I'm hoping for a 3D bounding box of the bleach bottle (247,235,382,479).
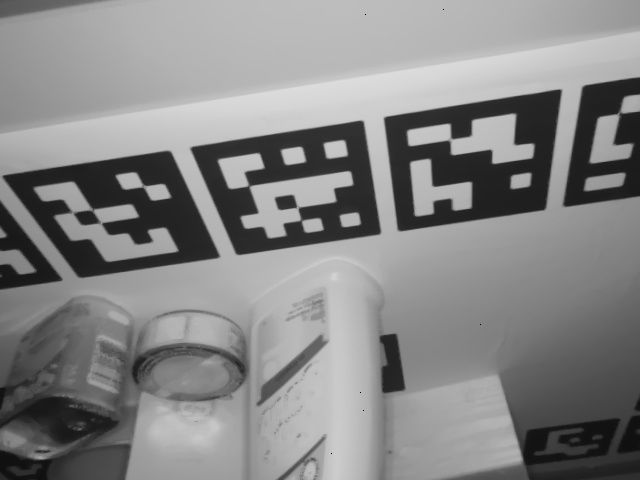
[{"bbox_3d":[0.001,0.118,0.444,0.101,0.252,0.068,-28,131,22],"label":"bleach bottle"}]

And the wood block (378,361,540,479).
[{"bbox_3d":[0.091,0.195,0.648,0.205,0.090,0.091,-15,130,12],"label":"wood block"}]

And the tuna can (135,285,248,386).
[{"bbox_3d":[-0.098,0.075,0.541,0.086,0.034,0.085,-3,132,-2],"label":"tuna can"}]

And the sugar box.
[{"bbox_3d":[-0.106,0.170,0.536,0.093,0.177,0.045,4,133,-13],"label":"sugar box"}]

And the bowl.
[{"bbox_3d":[-0.173,0.193,0.644,0.162,0.055,0.160,-6,135,-5],"label":"bowl"}]

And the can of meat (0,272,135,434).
[{"bbox_3d":[-0.186,0.083,0.516,0.100,0.084,0.058,-31,133,27],"label":"can of meat"}]
